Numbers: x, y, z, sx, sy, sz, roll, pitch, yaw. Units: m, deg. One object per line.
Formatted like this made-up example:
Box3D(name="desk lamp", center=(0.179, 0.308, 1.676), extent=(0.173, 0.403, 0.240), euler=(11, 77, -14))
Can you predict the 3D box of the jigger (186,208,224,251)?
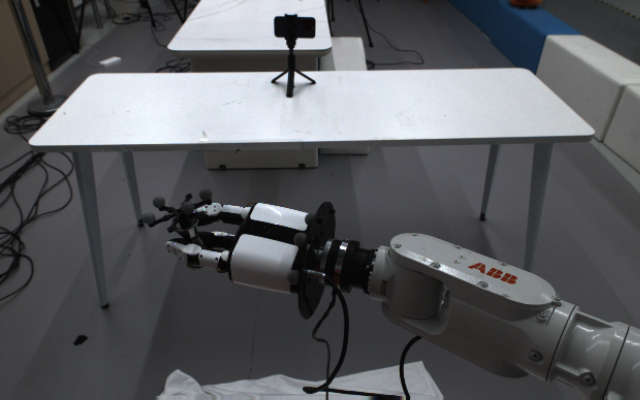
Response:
Box3D(name="jigger", center=(-0.180, 0.059, 0.692), extent=(0.043, 0.071, 0.043), euler=(-10, 33, 6))
